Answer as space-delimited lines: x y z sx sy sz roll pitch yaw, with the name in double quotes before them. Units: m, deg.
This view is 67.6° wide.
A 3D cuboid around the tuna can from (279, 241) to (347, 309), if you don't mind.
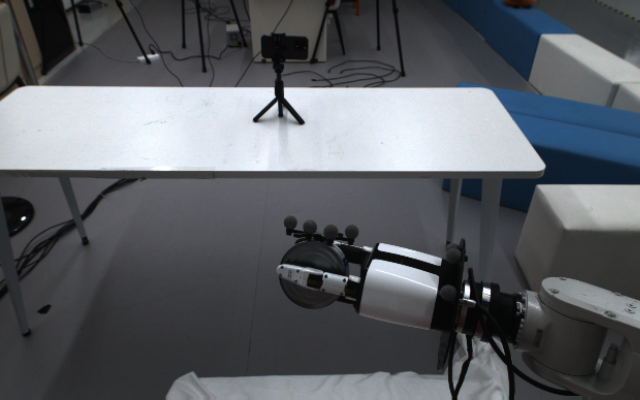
"tuna can" -0.005 0.090 0.610 0.085 0.085 0.034 11 2 13
